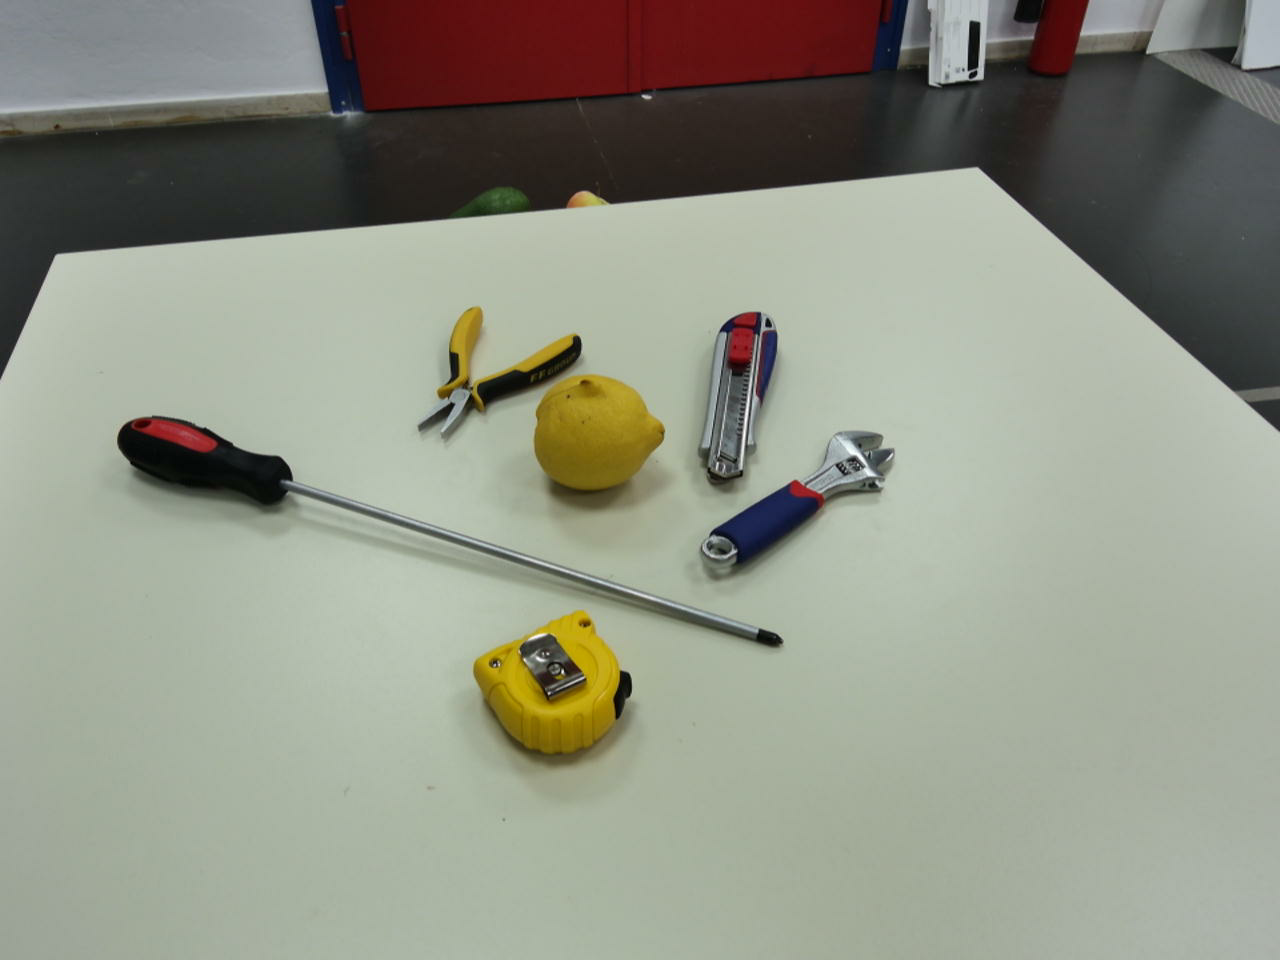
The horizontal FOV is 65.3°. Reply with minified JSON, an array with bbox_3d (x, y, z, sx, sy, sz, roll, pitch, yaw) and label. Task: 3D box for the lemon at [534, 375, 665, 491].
[{"bbox_3d":[-0.028,-0.031,0.590,0.071,0.071,0.070,32,48,32],"label":"lemon"}]
